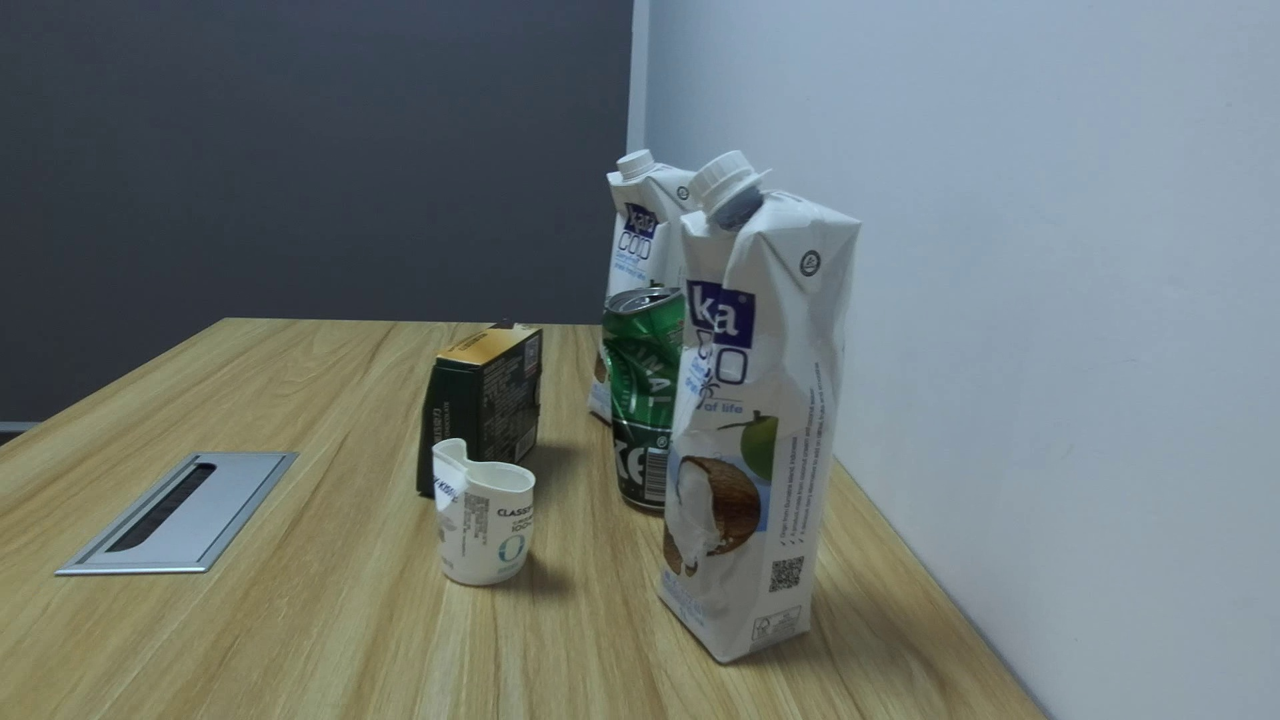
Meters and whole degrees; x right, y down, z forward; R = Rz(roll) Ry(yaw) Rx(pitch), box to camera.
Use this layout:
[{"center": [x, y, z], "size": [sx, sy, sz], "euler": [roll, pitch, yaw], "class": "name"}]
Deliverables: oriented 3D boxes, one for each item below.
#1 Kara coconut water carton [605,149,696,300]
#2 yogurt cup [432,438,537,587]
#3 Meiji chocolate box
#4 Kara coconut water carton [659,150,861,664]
[{"center": [0.007, -0.064, 0.647], "size": [0.071, 0.244, 0.100], "euler": [22, 36, 20], "class": "Kara coconut water carton"}, {"center": [-0.096, 0.092, 0.432], "size": [0.075, 0.071, 0.054], "euler": [8, 20, 13], "class": "yogurt cup"}, {"center": [-0.122, 0.034, 0.543], "size": [0.058, 0.110, 0.113], "euler": [10, 19, 12], "class": "Meiji chocolate box"}, {"center": [0.055, 0.026, 0.366], "size": [0.078, 0.255, 0.083], "euler": [-5, 20, -16], "class": "Kara coconut water carton"}]
